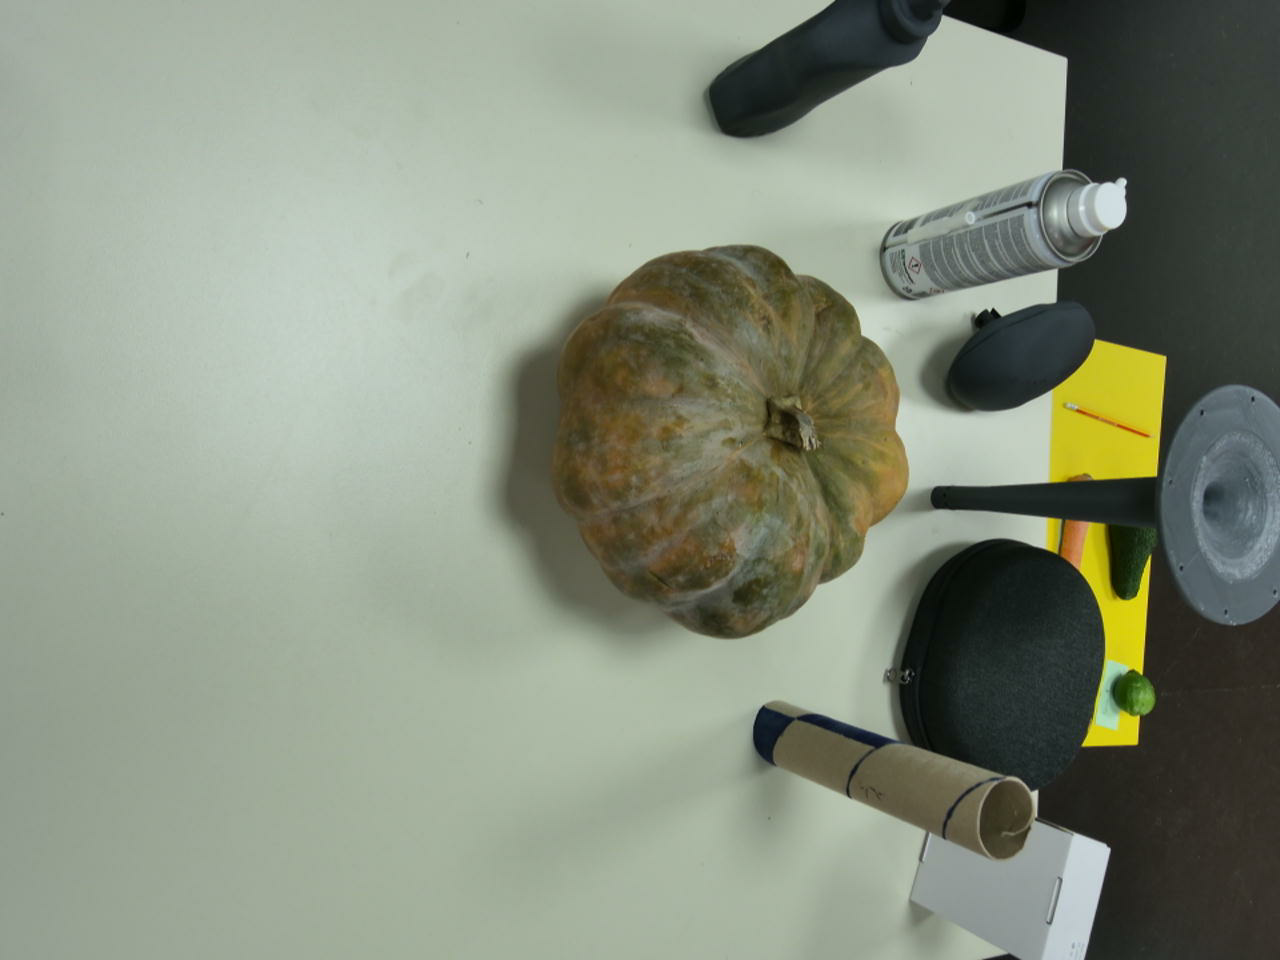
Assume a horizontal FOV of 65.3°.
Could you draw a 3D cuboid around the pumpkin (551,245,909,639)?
[{"bbox_3d":[0.059,-0.030,0.654,0.252,0.169,0.252,0,91,-29],"label":"pumpkin"}]
